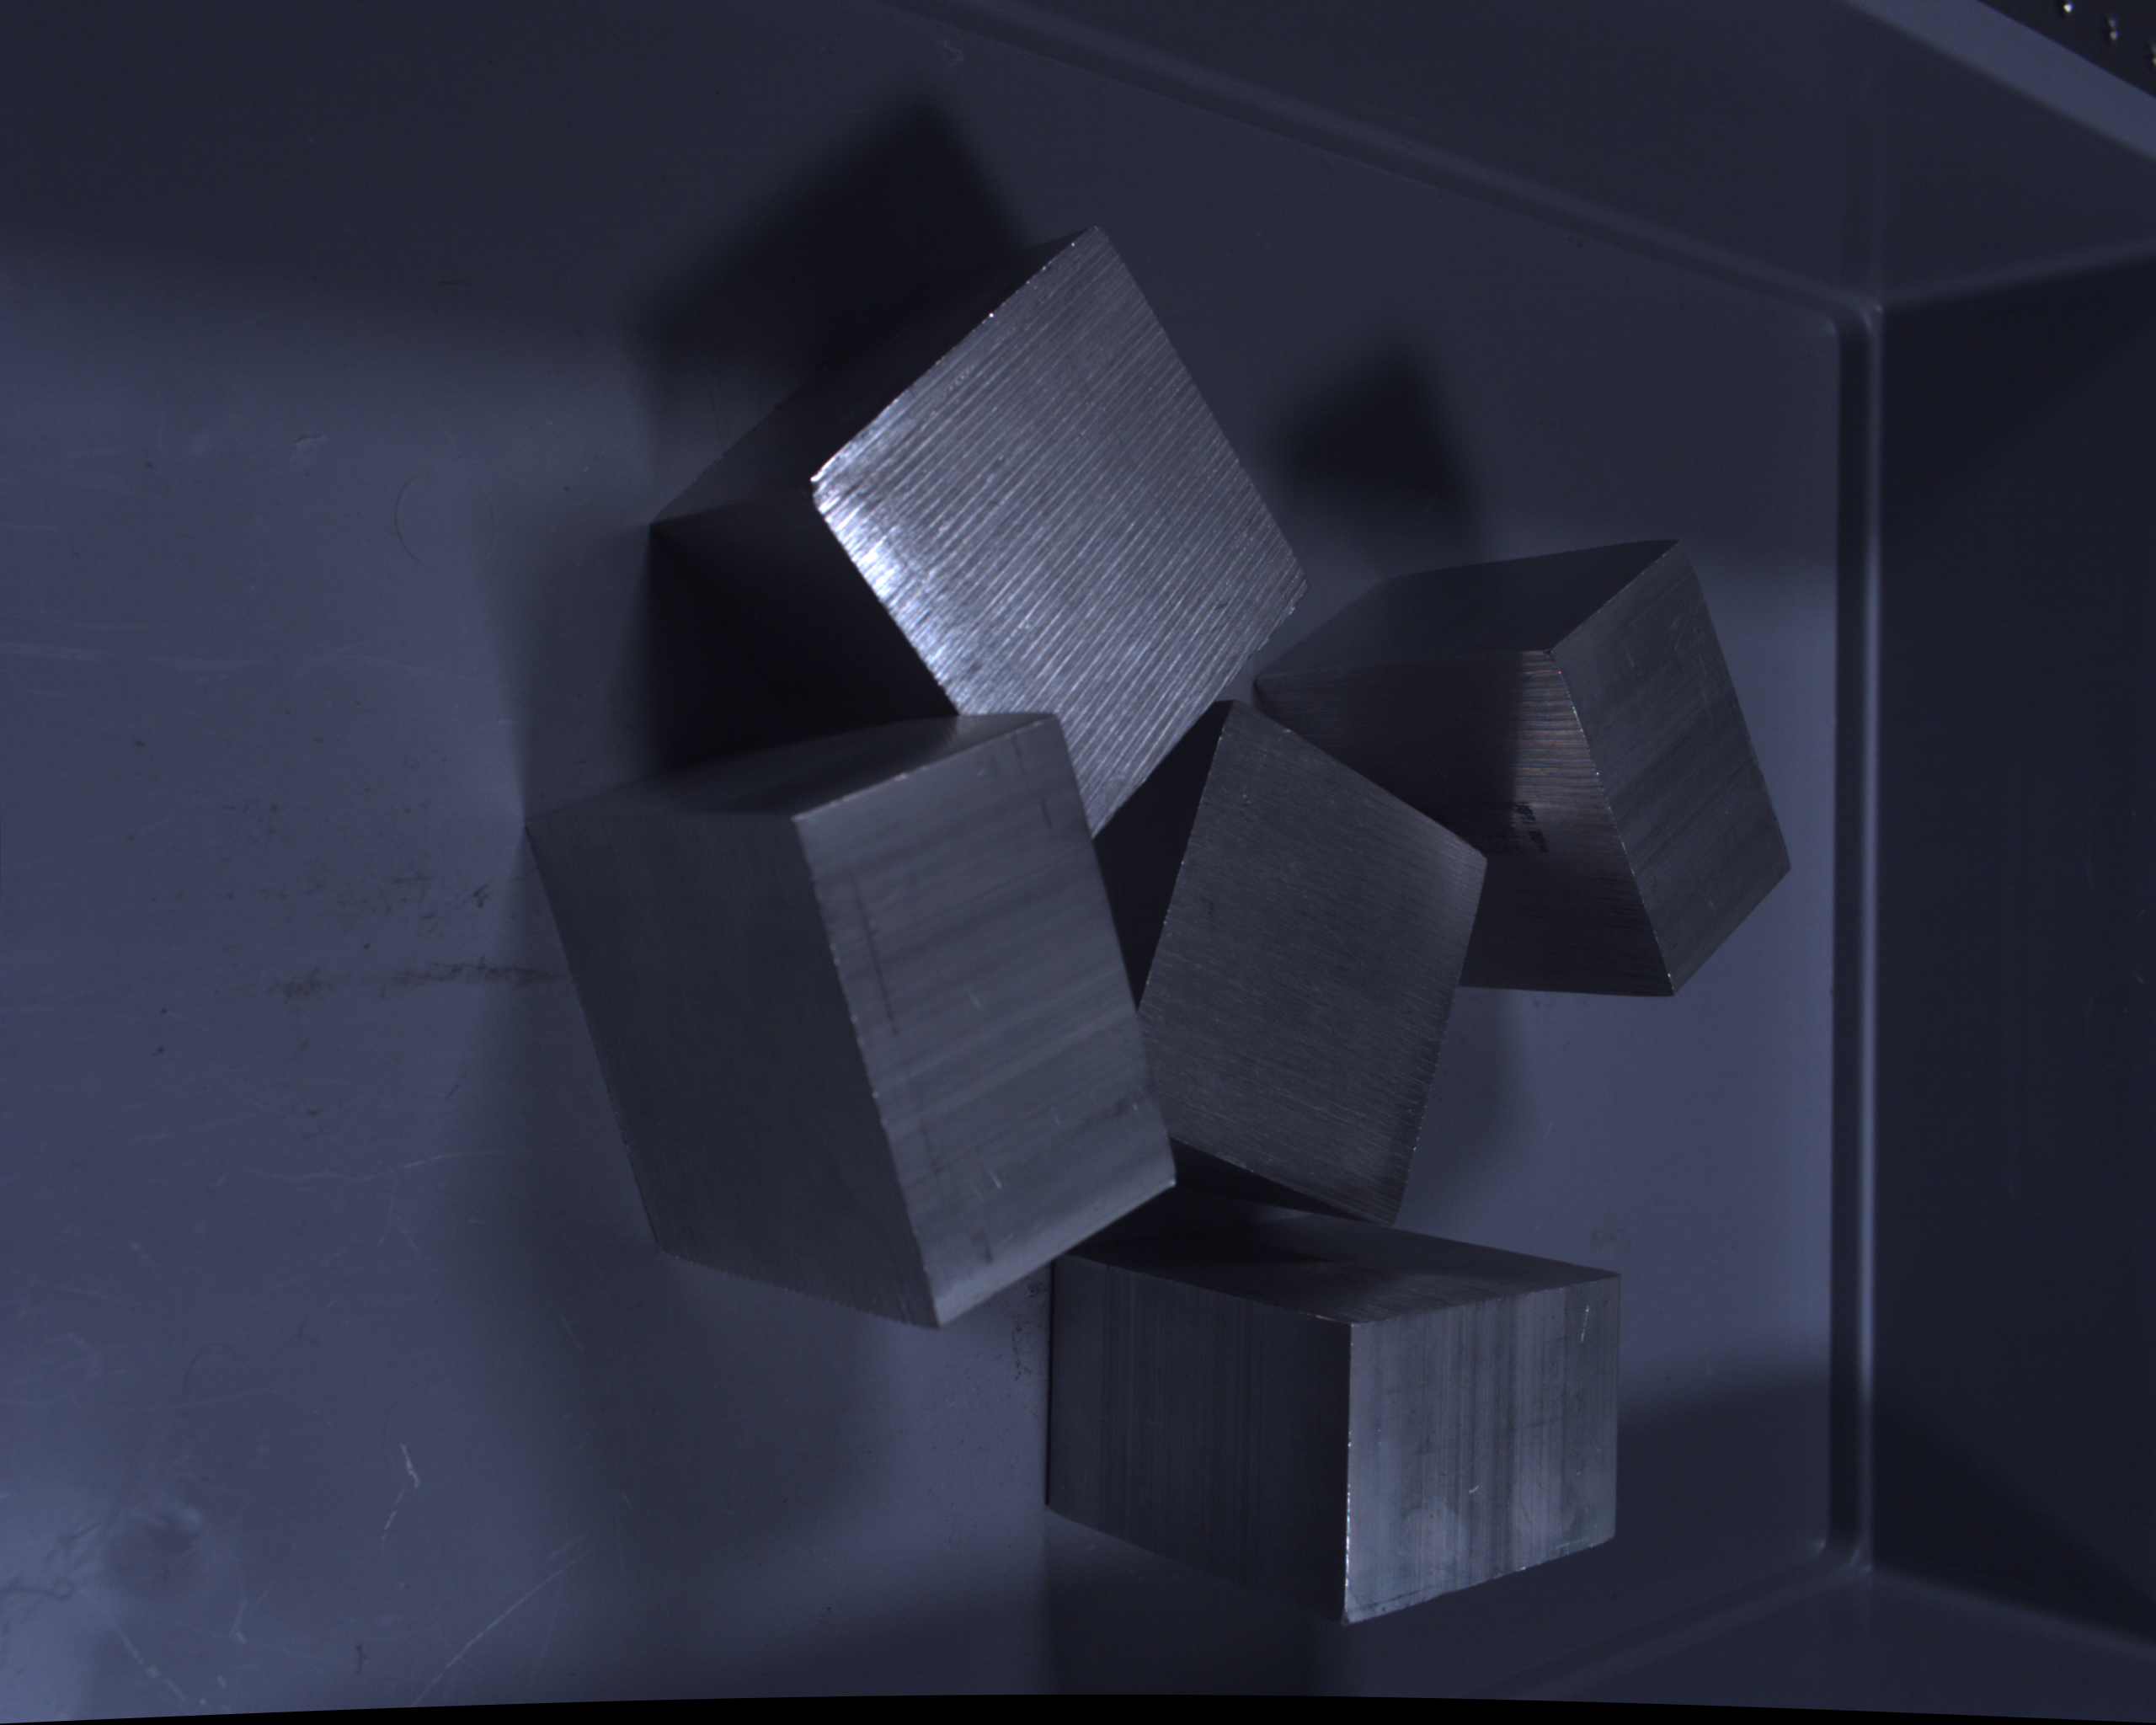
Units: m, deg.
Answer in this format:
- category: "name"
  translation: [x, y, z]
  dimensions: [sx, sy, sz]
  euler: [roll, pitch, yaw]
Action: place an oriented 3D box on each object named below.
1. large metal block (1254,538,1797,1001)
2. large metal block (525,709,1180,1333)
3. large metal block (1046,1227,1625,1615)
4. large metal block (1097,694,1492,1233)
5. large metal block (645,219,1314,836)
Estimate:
- category: "large metal block"
  translation: [0.097, -0.019, 0.452]
  dimensions: [0.050, 0.080, 0.080]
  euler: [-38, 114, -34]
- category: "large metal block"
  translation: [-0.038, 0.022, 0.339]
  dimensions: [0.050, 0.080, 0.080]
  euler: [-24, 106, -38]
- category: "large metal block"
  translation: [0.051, 0.105, 0.415]
  dimensions: [0.081, 0.080, 0.050]
  euler: [1, 90, -40]
- category: "large metal block"
  translation: [0.029, 0.021, 0.415]
  dimensions: [0.080, 0.050, 0.080]
  euler: [28, 72, -37]
- category: "large metal block"
  translation: [-0.015, -0.055, 0.377]
  dimensions: [0.080, 0.050, 0.080]
  euler: [-50, 120, -29]
